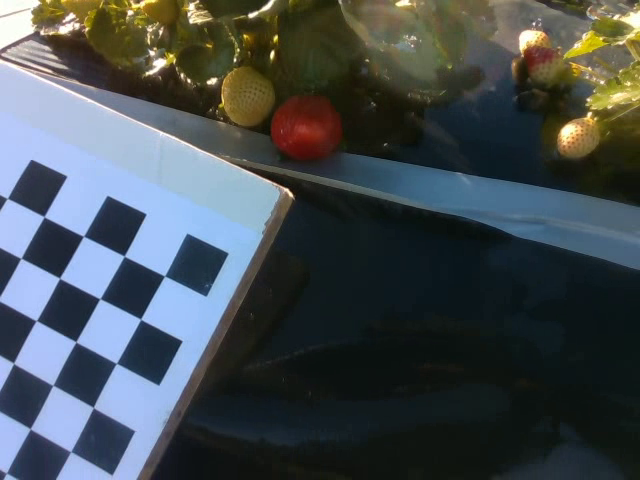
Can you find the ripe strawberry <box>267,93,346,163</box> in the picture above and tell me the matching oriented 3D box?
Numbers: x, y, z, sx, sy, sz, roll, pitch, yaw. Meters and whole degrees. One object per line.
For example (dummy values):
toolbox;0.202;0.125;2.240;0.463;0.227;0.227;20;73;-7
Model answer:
ripe strawberry;-0.008;-0.066;0.362;0.045;0.049;0.063;-41;15;2
